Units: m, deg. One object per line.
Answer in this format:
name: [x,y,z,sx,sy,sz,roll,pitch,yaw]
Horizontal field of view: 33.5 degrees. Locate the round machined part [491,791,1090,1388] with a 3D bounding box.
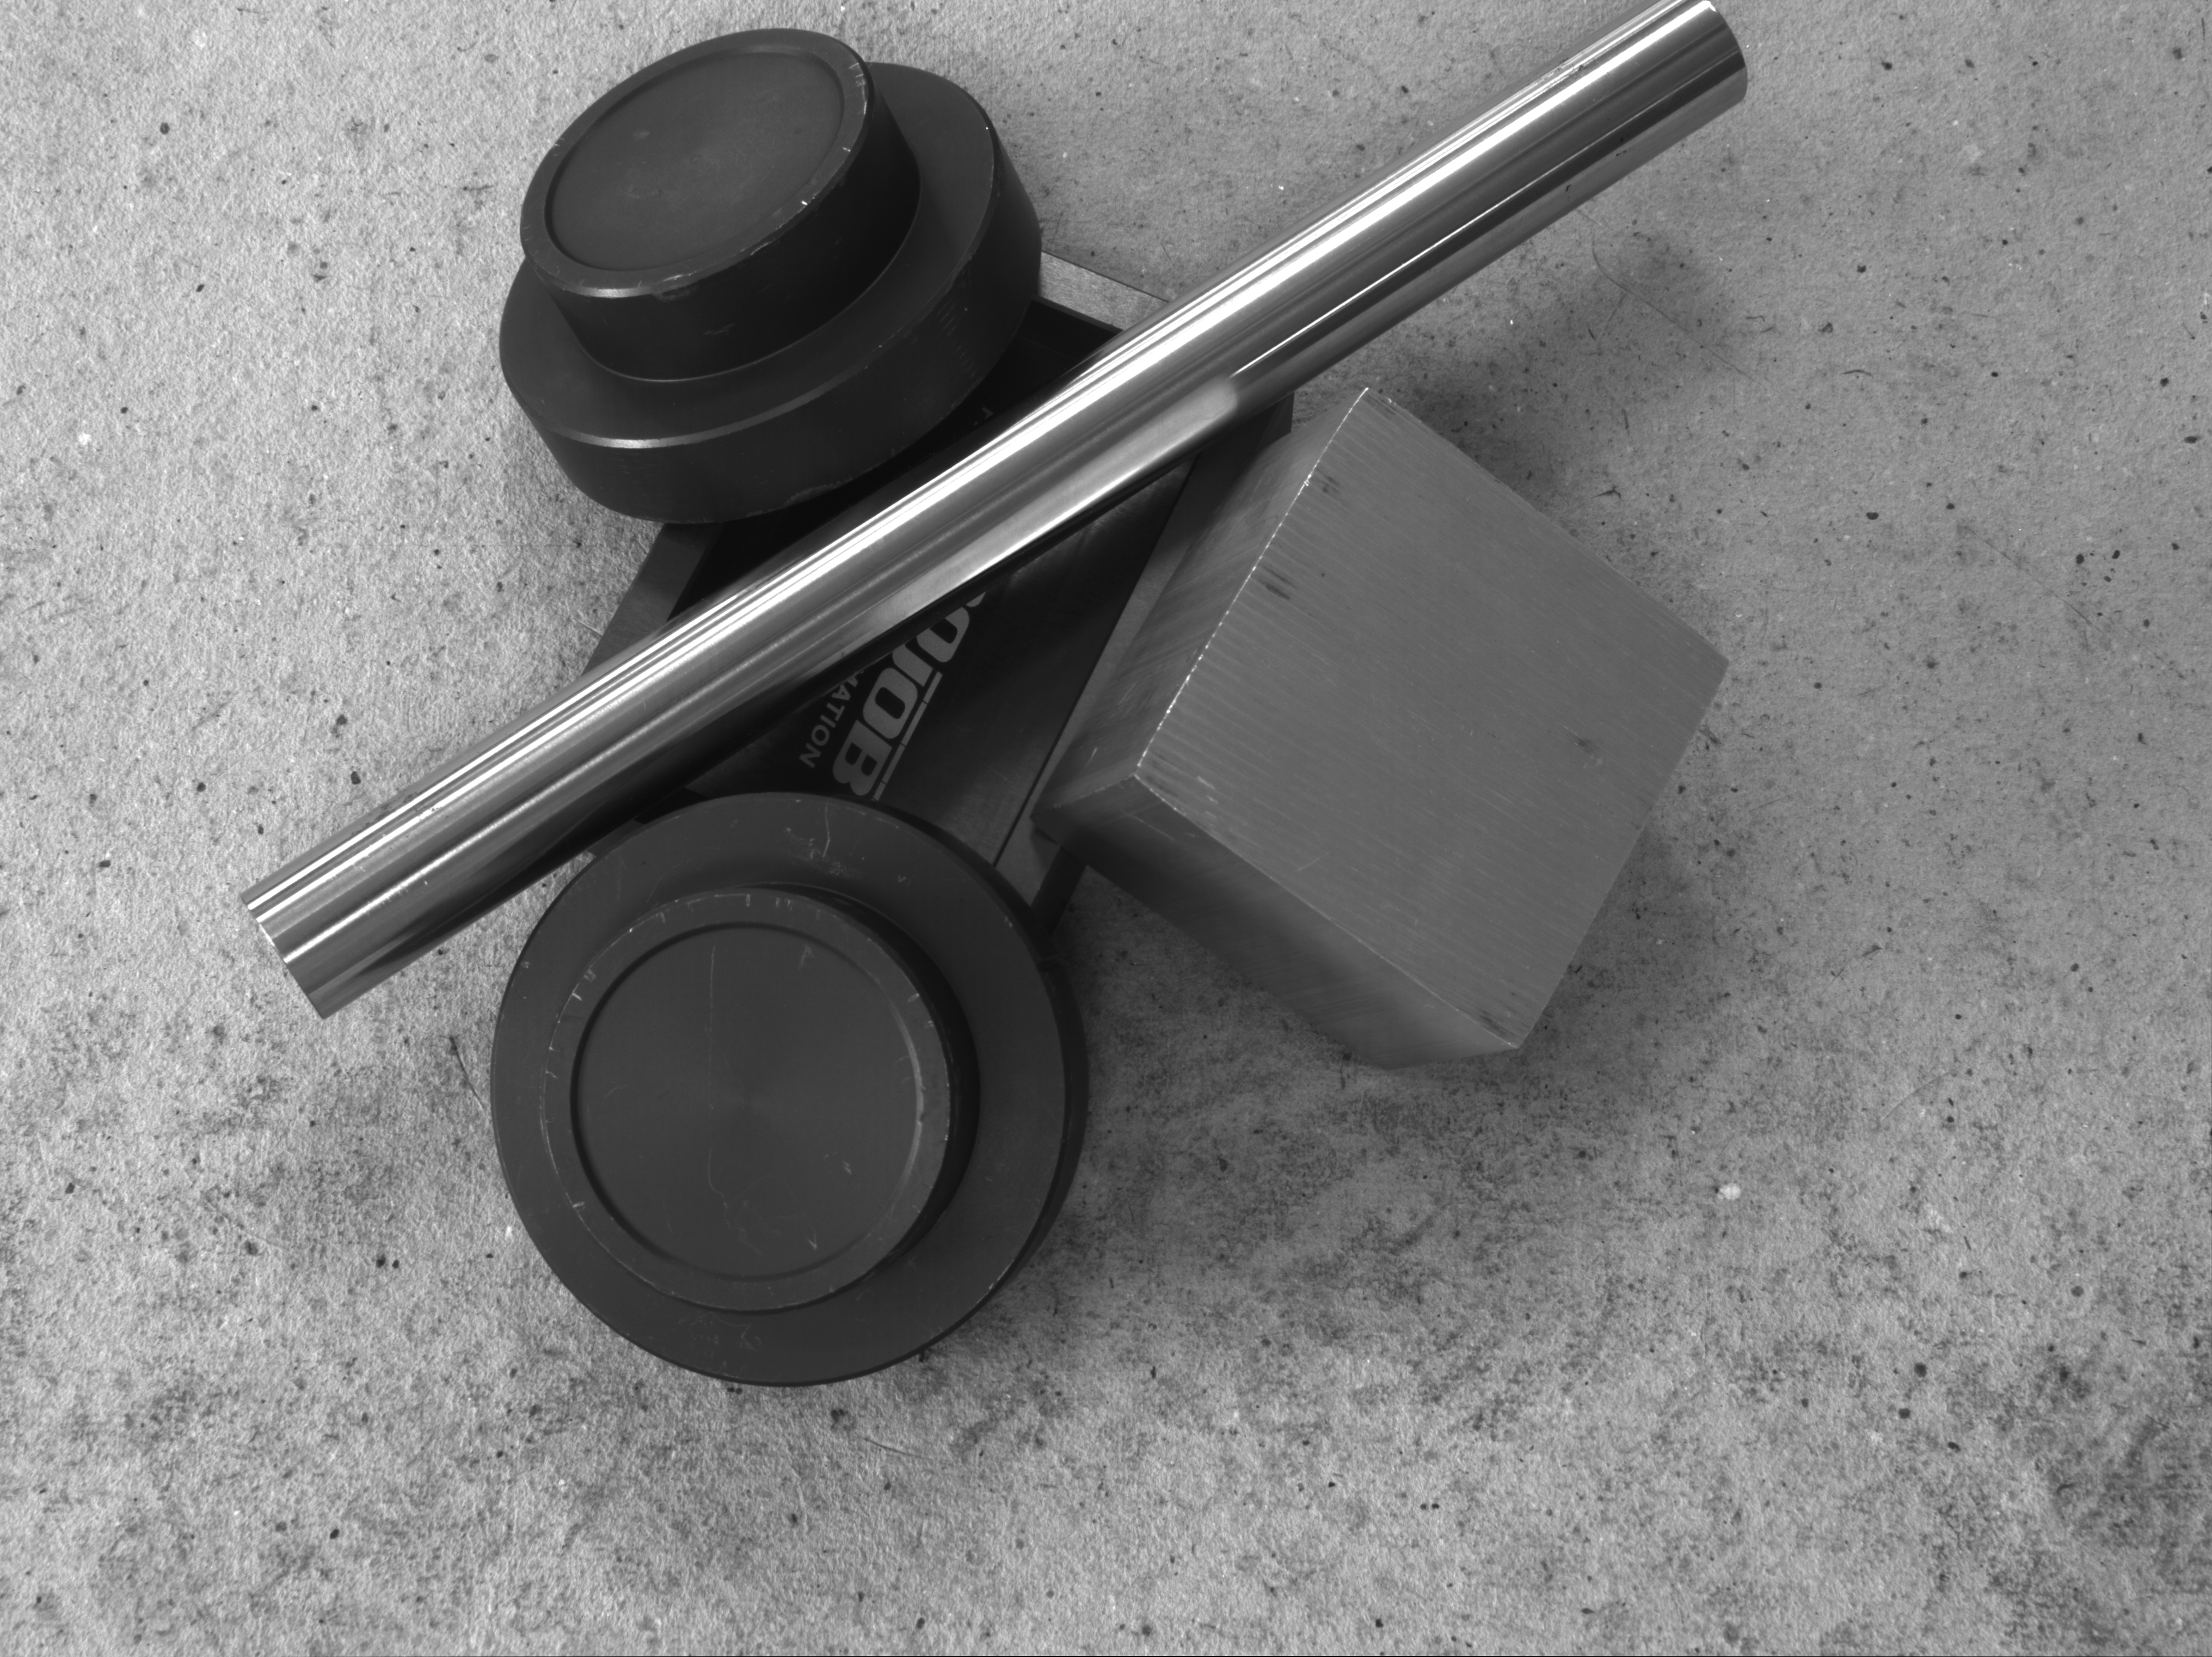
round machined part: [-0.054,0.043,0.603,0.098,0.042,0.098,0,90,7]

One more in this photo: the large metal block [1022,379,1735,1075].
large metal block: [0.046,-0.015,0.623,0.080,0.050,0.080,35,71,-13]

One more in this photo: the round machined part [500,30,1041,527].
round machined part: [-0.064,-0.104,0.653,0.098,0.042,0.098,-14,47,16]

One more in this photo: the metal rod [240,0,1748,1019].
metal rod: [-0.014,-0.061,0.637,0.300,0.025,0.025,-34,73,-12]

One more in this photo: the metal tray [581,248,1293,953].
metal tray: [-0.032,-0.042,0.658,0.090,0.030,0.130,23,72,8]
